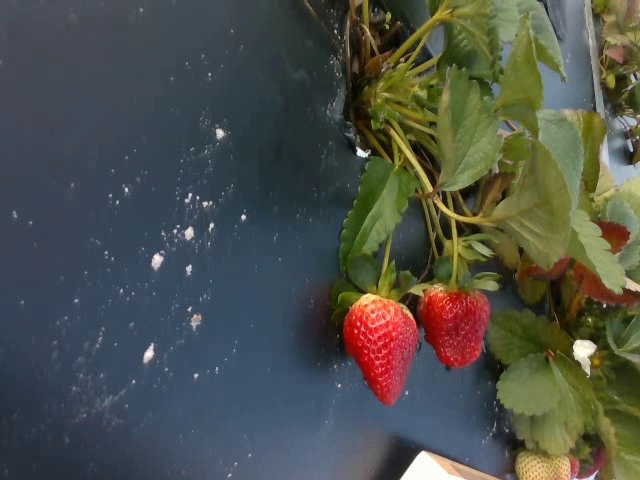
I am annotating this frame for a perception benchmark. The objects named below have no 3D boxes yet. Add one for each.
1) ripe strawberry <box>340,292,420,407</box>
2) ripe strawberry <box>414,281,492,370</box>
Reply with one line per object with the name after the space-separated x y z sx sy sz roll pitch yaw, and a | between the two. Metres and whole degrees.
0.034 0.057 0.306 0.050 0.061 0.045 21 -28 -39 | ripe strawberry
0.084 0.050 0.350 0.042 0.053 0.034 14 -20 -37 | ripe strawberry
